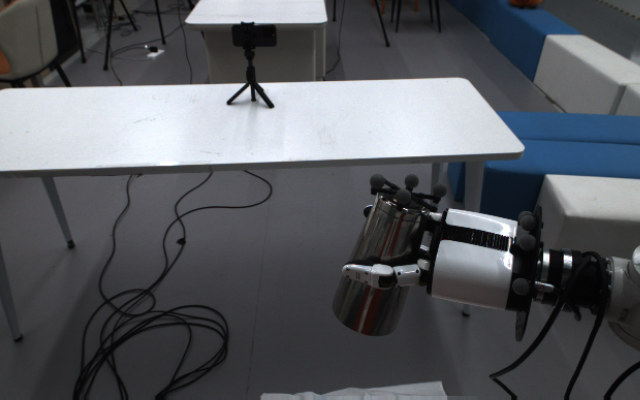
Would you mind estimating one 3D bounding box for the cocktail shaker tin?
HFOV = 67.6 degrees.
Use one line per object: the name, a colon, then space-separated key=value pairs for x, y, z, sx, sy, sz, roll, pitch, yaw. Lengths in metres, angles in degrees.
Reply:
cocktail shaker tin: x=0.083 y=0.072 z=0.611 sx=0.093 sy=0.170 sz=0.093 roll=12 pitch=24 yaw=-5
